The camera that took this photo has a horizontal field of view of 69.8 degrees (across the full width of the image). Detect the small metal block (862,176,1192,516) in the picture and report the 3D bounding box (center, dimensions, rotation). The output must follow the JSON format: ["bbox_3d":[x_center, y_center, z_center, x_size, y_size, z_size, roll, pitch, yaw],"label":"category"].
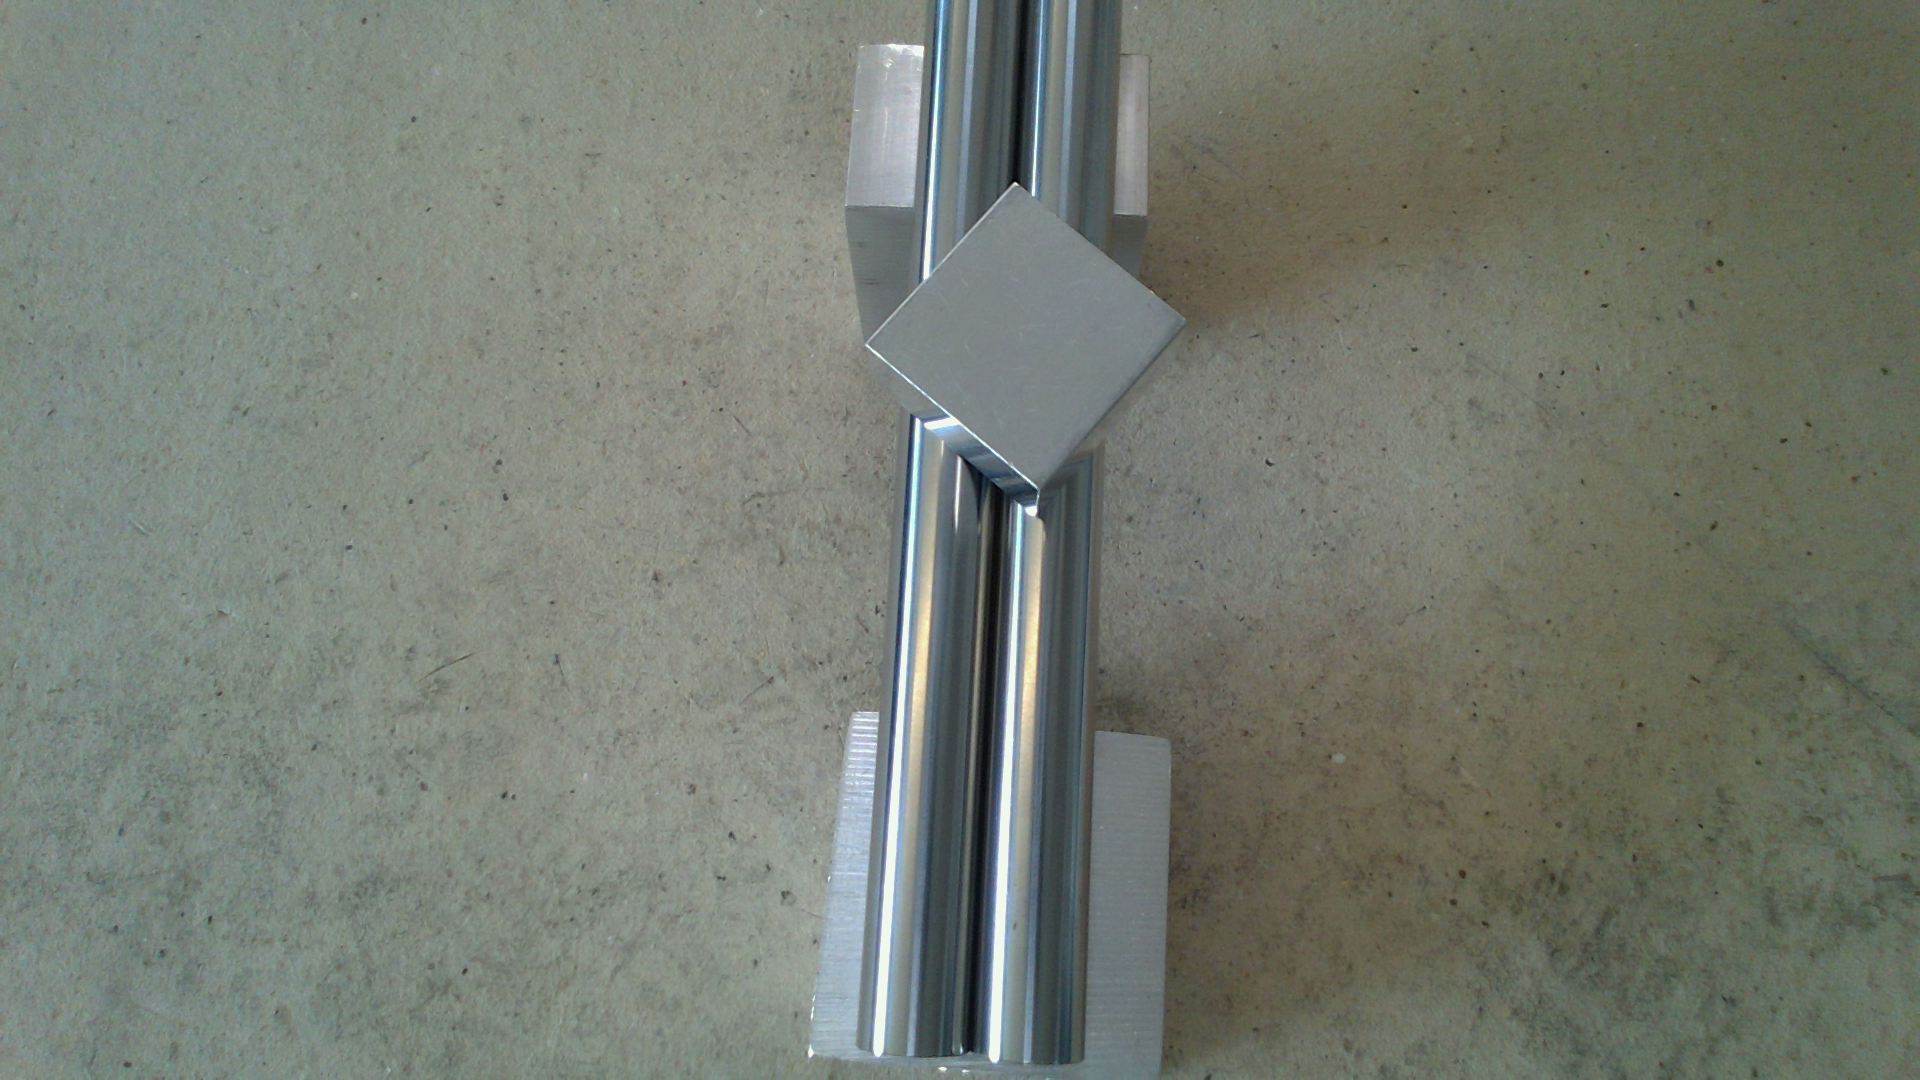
[{"bbox_3d":[0.014,-0.043,0.306,0.050,0.025,0.050,41,80,8],"label":"small metal block"}]

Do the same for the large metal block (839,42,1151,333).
[{"bbox_3d":[0.010,-0.095,0.401,0.080,0.080,0.050,3,70,1],"label":"large metal block"}]

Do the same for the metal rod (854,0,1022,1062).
[{"bbox_3d":[-0.002,-0.035,0.330,0.025,0.025,0.300,3,77,1],"label":"metal rod"}]

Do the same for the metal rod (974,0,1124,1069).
[{"bbox_3d":[0.024,-0.034,0.330,0.025,0.025,0.300,3,77,1],"label":"metal rod"}]

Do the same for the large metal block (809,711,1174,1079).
[{"bbox_3d":[0.009,0.091,0.347,0.080,0.050,0.080,5,70,2],"label":"large metal block"}]
